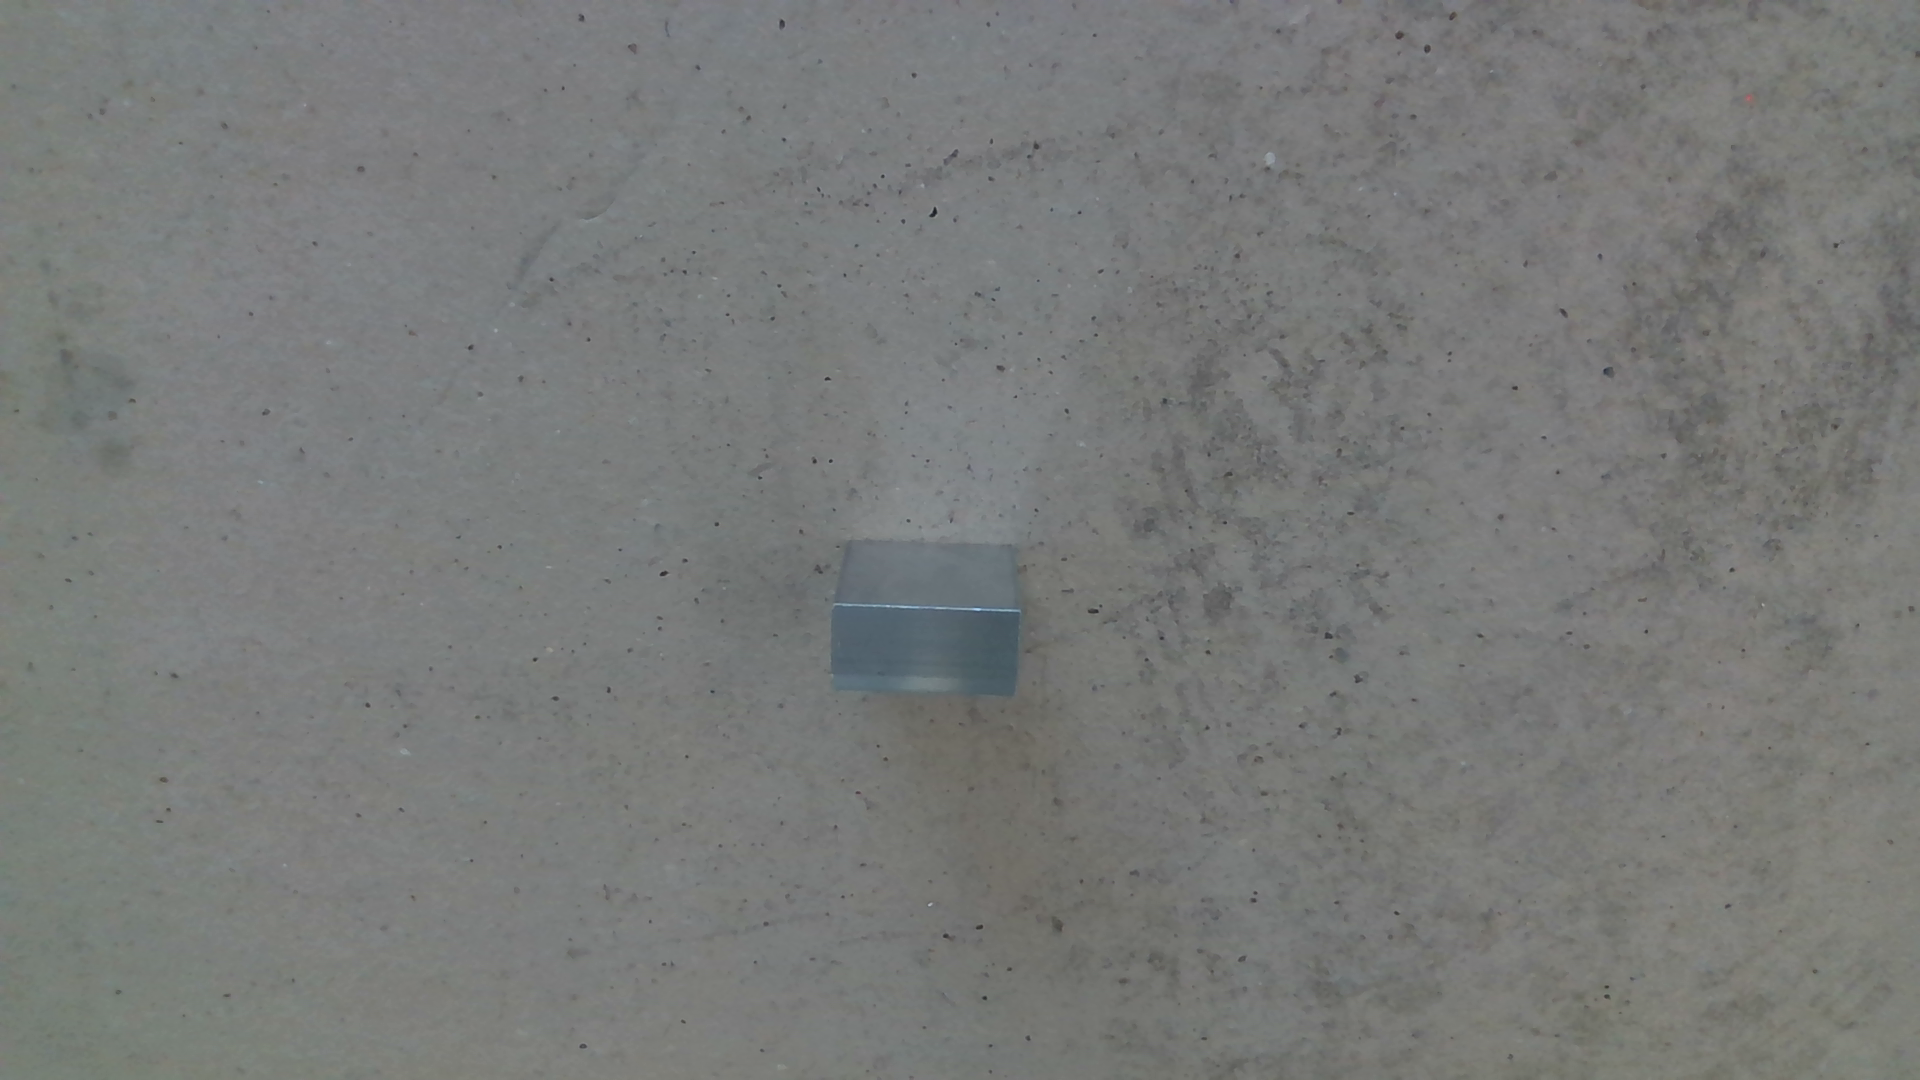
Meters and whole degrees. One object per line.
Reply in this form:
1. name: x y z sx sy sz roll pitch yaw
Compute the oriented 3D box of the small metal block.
1. small metal block: -0.009 0.020 0.387 0.050 0.050 0.025 2 111 0
